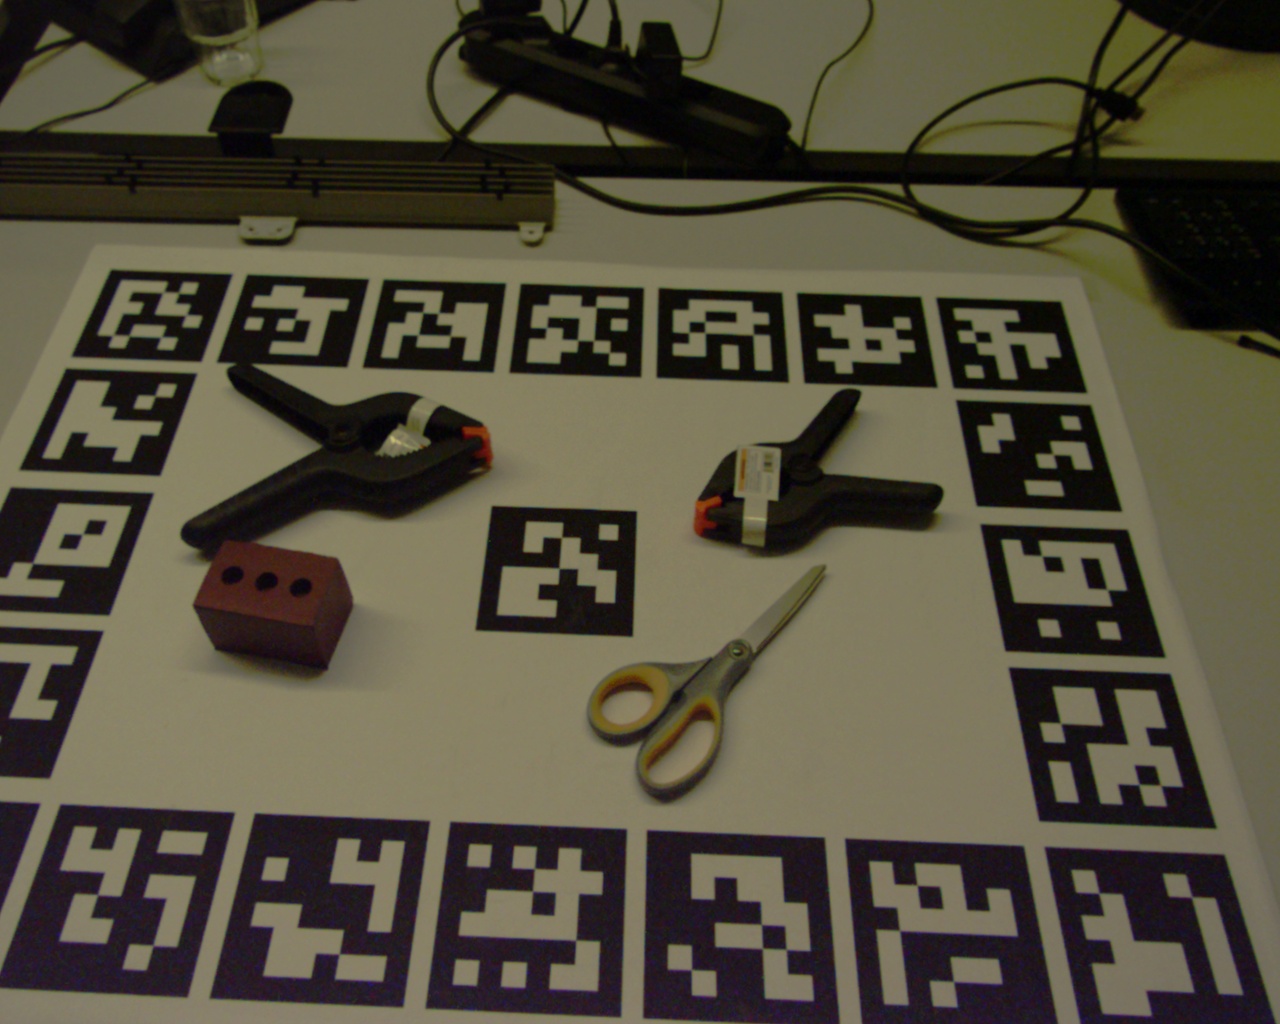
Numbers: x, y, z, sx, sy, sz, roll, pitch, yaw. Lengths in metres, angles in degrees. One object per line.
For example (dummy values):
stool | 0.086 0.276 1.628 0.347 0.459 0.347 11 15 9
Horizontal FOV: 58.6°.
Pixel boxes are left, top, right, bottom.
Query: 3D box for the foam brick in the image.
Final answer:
foam brick | -0.240 0.062 0.756 0.078 0.051 0.053 6 56 9

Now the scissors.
scissors | 0.040 0.093 0.750 0.088 0.016 0.201 39 61 16

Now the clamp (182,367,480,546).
clamp | -0.220 -0.045 0.840 0.202 0.036 0.166 -1 51 -2

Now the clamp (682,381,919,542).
clamp | 0.105 -0.025 0.832 0.164 0.036 0.123 -22 64 -15
